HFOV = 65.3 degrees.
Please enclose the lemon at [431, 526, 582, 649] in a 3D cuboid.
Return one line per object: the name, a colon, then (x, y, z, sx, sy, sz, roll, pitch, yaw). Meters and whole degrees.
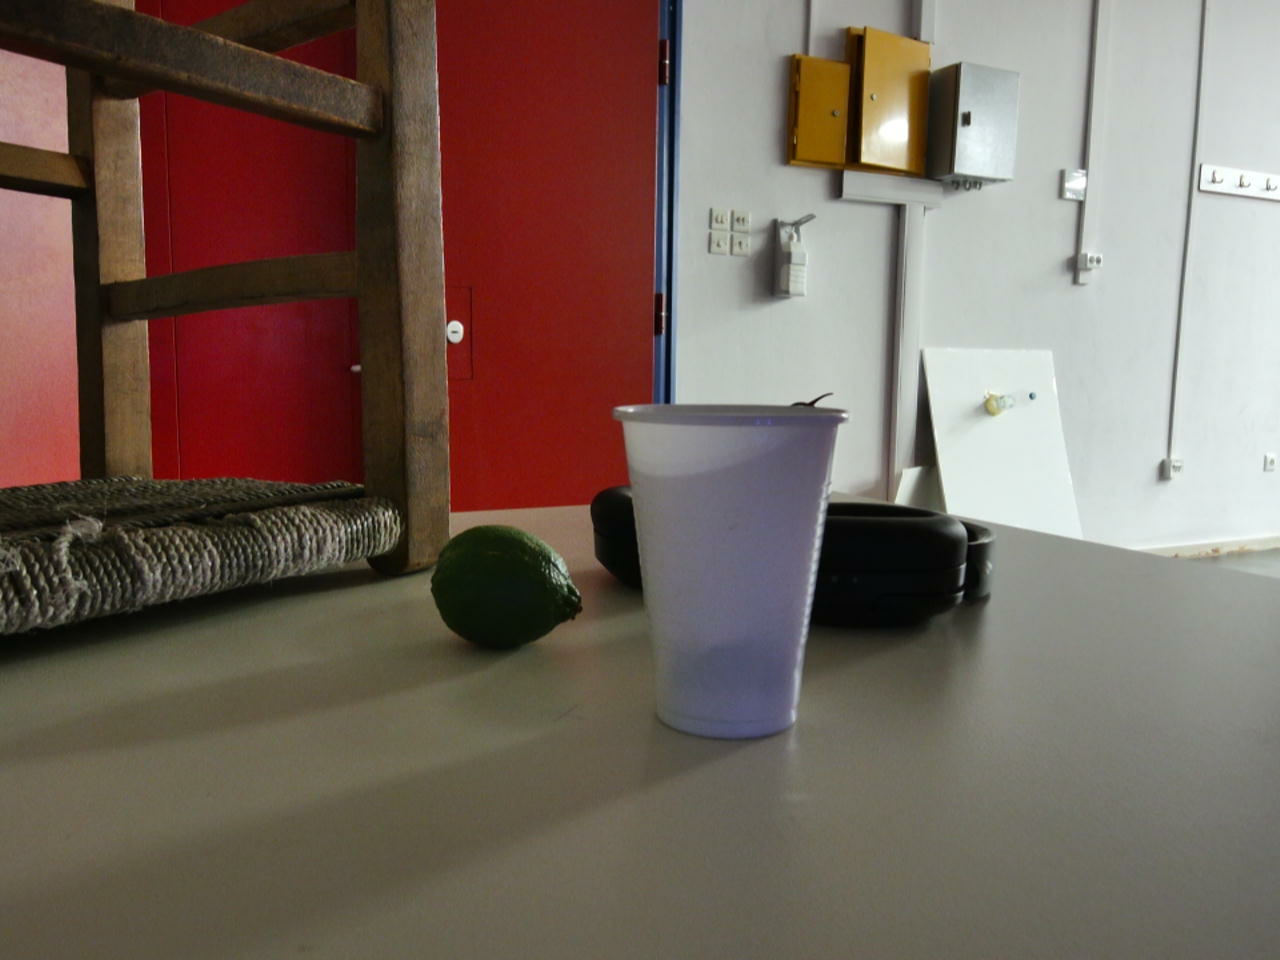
lemon: (-0.059, 0.044, 0.423, 0.057, 0.051, 0.054, -2, 4, -30)
